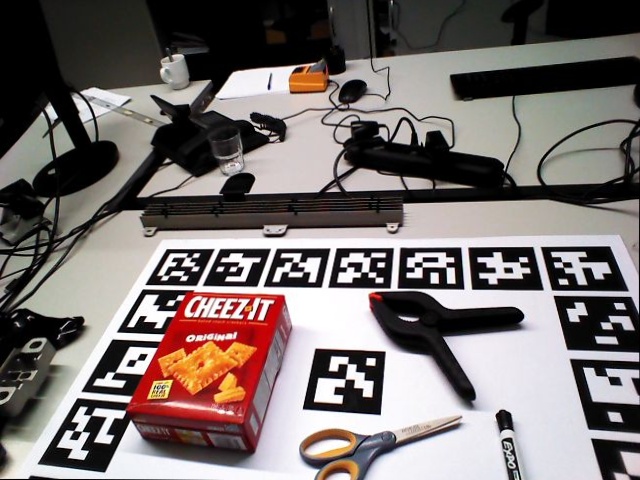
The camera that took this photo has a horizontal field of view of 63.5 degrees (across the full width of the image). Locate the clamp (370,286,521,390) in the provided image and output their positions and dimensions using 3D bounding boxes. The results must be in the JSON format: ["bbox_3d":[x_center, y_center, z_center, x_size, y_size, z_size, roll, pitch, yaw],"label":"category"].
[{"bbox_3d":[0.157,0.113,0.743,0.204,0.037,0.164,21,46,36],"label":"clamp"}]

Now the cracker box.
[{"bbox_3d":[-0.141,0.165,0.712,0.165,0.072,0.212,-1,38,15],"label":"cracker box"}]

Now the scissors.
[{"bbox_3d":[0.077,0.226,0.608,0.202,0.016,0.087,-18,35,-11],"label":"scissors"}]

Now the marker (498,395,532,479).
[{"bbox_3d":[0.215,0.223,0.569,0.020,0.020,0.120,-4,36,11],"label":"marker"}]
